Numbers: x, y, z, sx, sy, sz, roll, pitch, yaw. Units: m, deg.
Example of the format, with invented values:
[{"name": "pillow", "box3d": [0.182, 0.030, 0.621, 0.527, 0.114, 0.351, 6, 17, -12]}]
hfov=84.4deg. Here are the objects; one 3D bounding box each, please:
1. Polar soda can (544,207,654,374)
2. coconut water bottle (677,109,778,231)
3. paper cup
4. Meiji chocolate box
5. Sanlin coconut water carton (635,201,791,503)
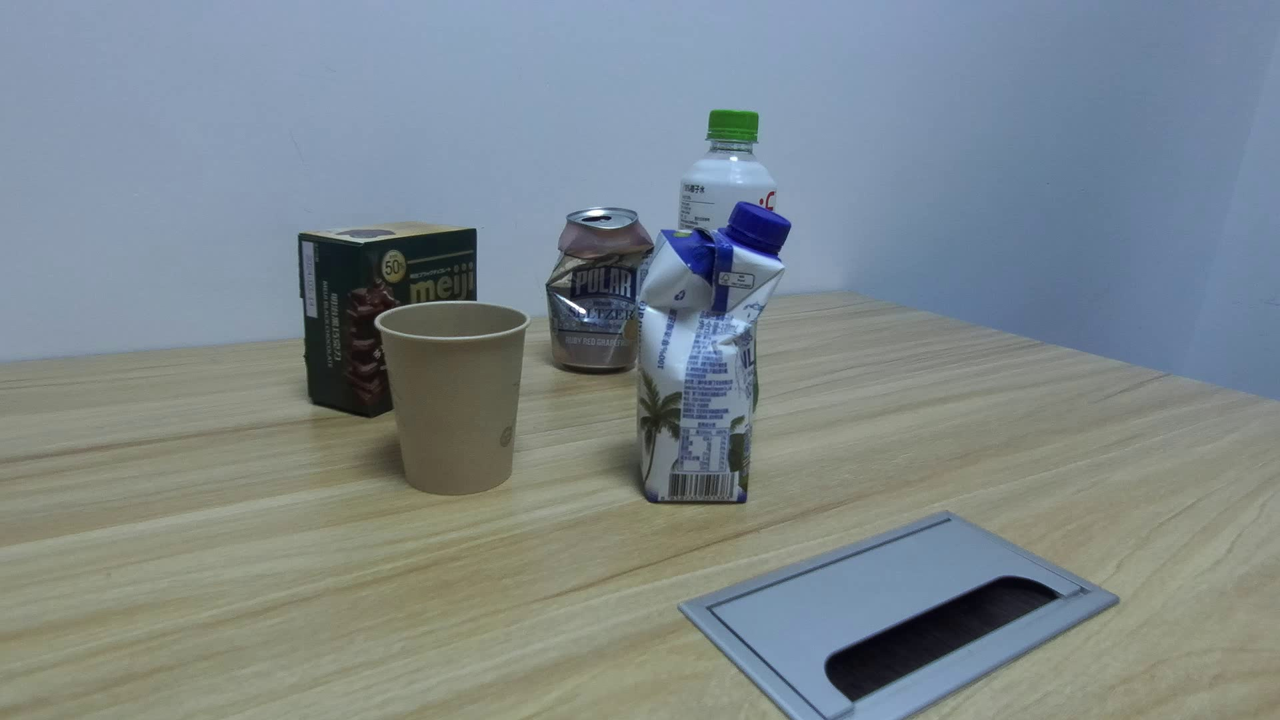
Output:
[{"name": "Polar soda can", "box3d": [-0.031, -0.052, 0.539, 0.071, 0.122, 0.066, -13, 29, -36]}, {"name": "coconut water bottle", "box3d": [0.053, -0.059, 0.454, 0.063, 0.188, 0.063, 4, 12, -1]}, {"name": "paper cup", "box3d": [-0.093, 0.019, 0.359, 0.075, 0.082, 0.075, 3, 17, -1]}, {"name": "Meiji chocolate box", "box3d": [-0.163, -0.032, 0.474, 0.056, 0.109, 0.110, 10, 18, 22]}, {"name": "Sanlin coconut water carton", "box3d": [0.032, -0.004, 0.347, 0.070, 0.143, 0.060, 3, 18, -5]}]
